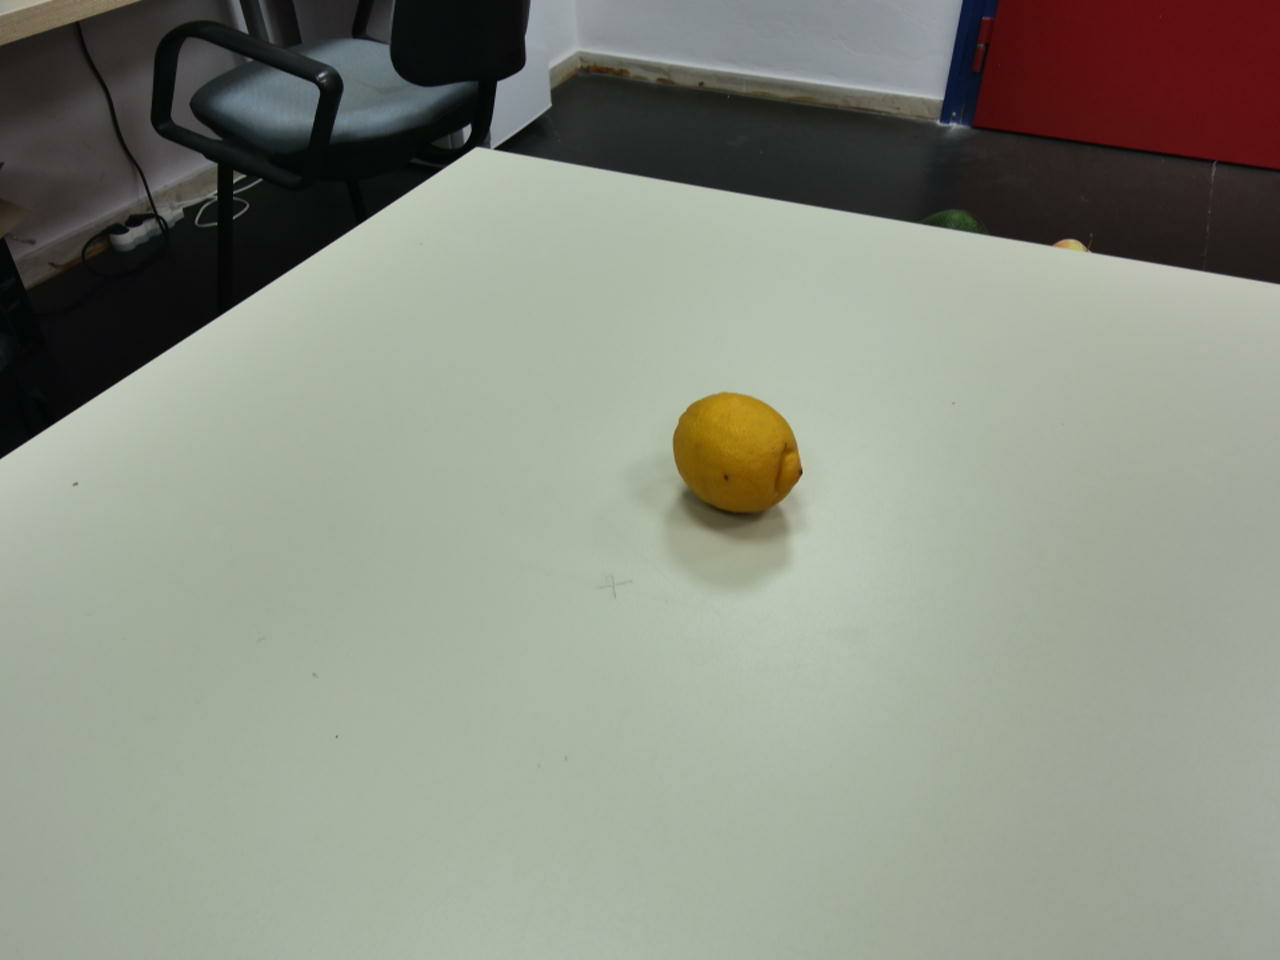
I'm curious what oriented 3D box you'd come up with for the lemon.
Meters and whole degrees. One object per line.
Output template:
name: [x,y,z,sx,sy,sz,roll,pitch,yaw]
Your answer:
lemon: [0.050,-0.013,0.520,0.061,0.059,0.067,-14,40,-17]
